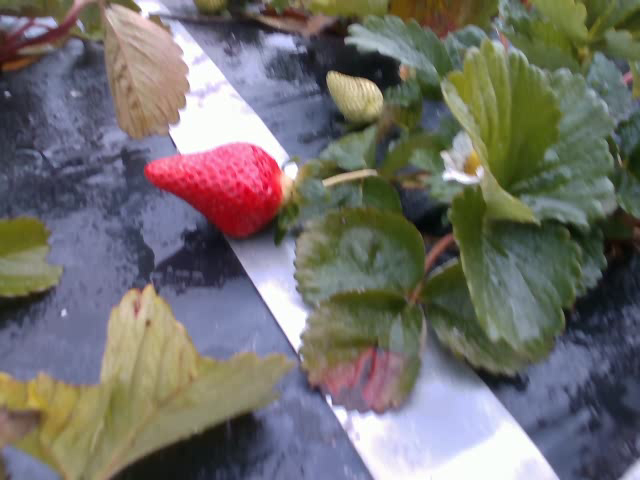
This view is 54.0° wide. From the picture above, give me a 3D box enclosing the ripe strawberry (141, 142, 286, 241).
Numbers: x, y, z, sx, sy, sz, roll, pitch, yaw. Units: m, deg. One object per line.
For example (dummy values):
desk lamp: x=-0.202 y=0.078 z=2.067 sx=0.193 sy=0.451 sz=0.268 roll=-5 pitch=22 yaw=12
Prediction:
ripe strawberry: x=-0.037 y=-0.021 z=0.219 sx=0.051 sy=0.041 sz=0.038 roll=7 pitch=-25 yaw=-23
